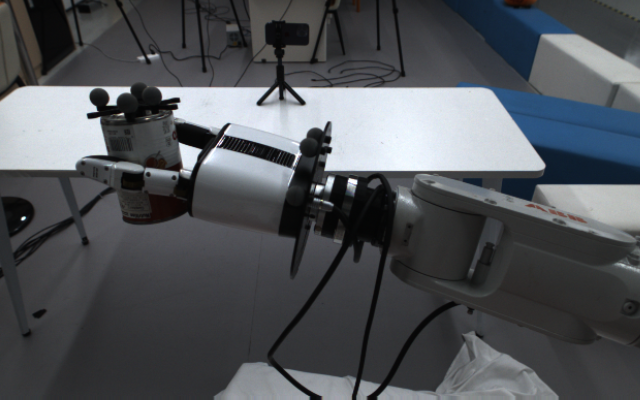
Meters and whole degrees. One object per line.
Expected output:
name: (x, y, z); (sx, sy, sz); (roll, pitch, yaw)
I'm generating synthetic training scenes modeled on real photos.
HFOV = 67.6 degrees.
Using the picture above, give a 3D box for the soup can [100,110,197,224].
soup can: (-0.168, -0.034, 0.478); (0.067, 0.101, 0.067); (-4, 21, 2)
